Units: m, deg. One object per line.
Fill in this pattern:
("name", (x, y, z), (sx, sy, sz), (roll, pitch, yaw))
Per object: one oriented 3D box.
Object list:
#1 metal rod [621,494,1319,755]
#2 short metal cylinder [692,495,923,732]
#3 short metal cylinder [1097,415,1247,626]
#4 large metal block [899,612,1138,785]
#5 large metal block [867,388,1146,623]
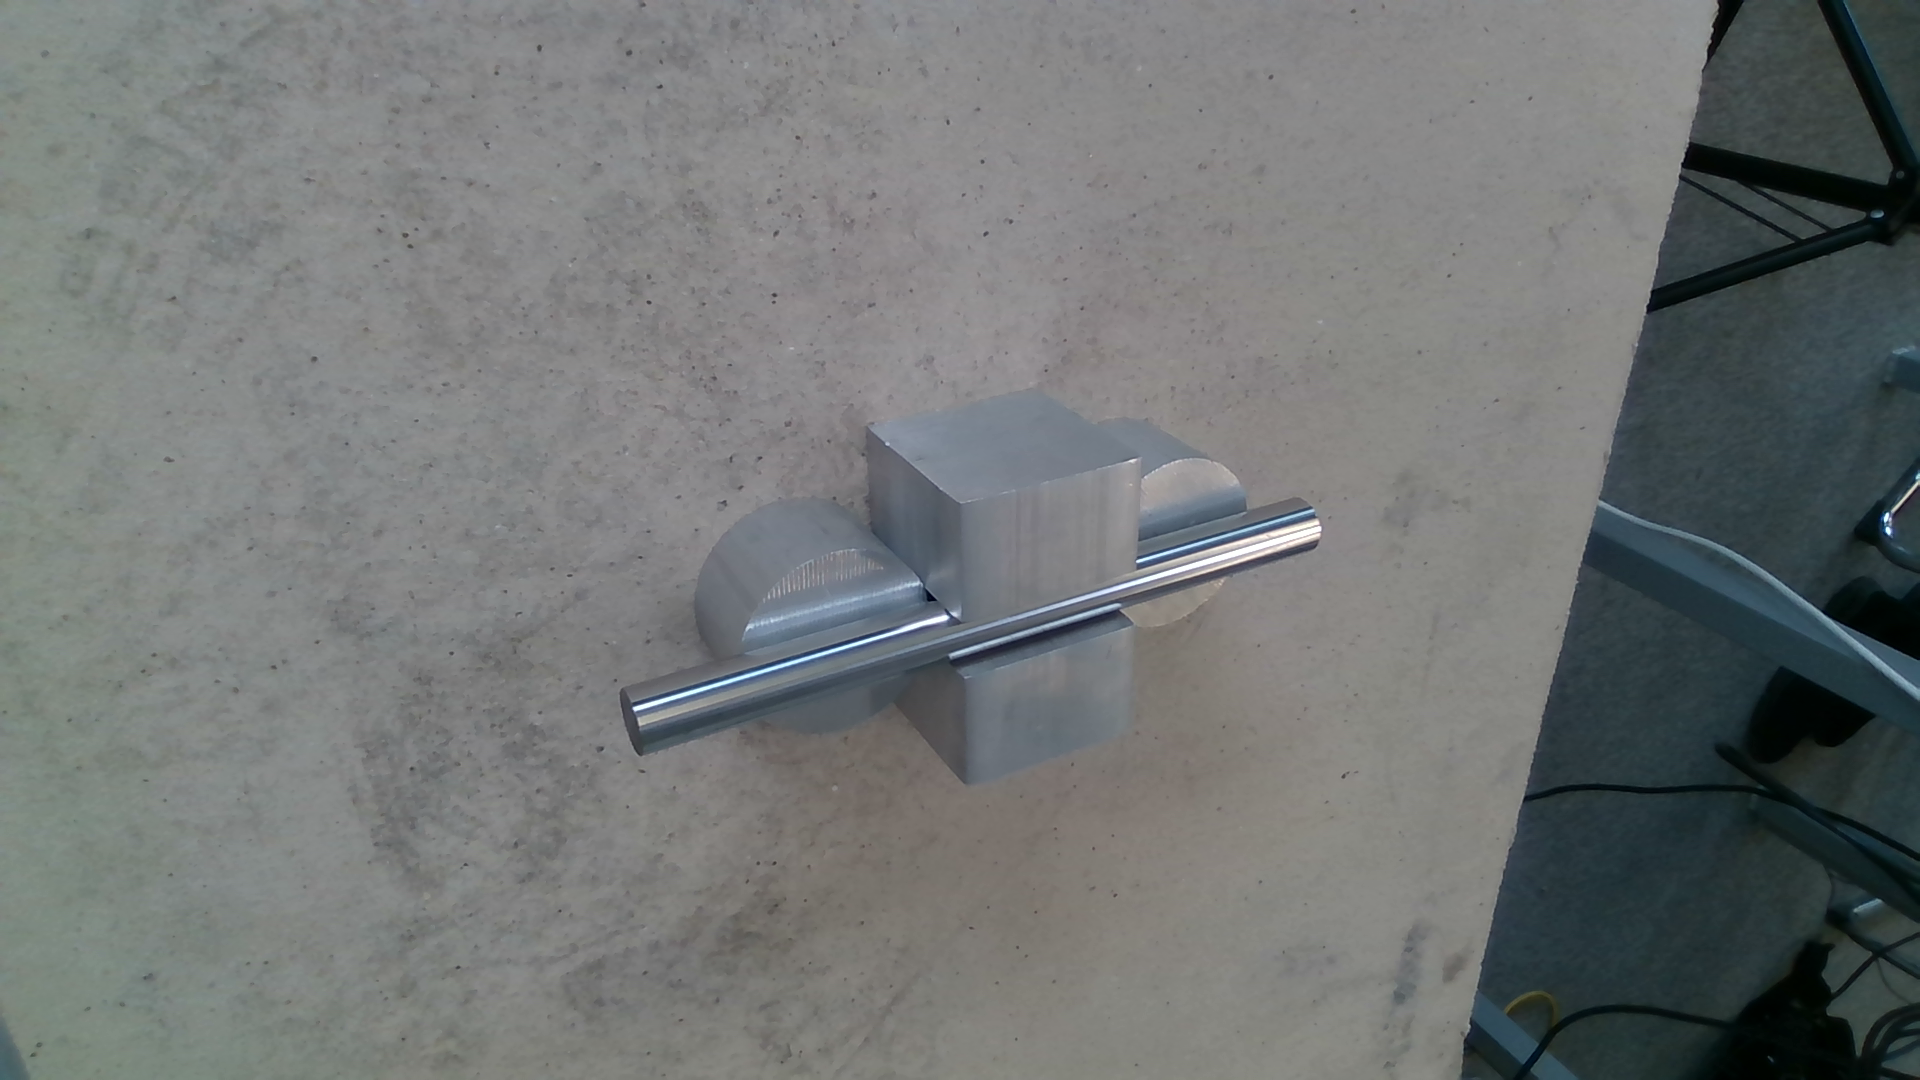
("metal rod", (0.018, 0.028, 0.542), (0.300, 0.025, 0.025), (-15, 122, -25))
("short metal cylinder", (-0.059, 0.029, 0.545), (0.080, 0.050, 0.080), (-15, 122, -25))
("short metal cylinder", (0.079, -0.009, 0.609), (0.080, 0.050, 0.080), (-15, 122, -25))
("large metal block", (0.018, 0.050, 0.584), (0.080, 0.080, 0.050), (-15, 122, -25))
("large metal block", (0.016, -0.017, 0.546), (0.080, 0.080, 0.050), (-15, 122, -25))
